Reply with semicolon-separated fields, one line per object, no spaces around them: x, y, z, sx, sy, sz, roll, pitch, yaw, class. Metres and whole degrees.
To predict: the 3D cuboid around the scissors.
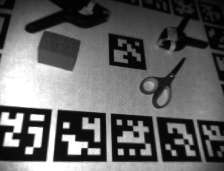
0.146;-0.025;0.568;0.088;0.016;0.204;45;59;-4;scissors

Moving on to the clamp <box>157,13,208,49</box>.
0.203;-0.153;0.642;0.166;0.036;0.121;-23;83;-26;clamp

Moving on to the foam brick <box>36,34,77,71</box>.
-0.121;-0.072;0.483;0.078;0.051;0.052;11;65;-9;foam brick

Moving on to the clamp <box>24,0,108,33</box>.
-0.110;-0.192;0.548;0.204;0.036;0.164;2;63;-19;clamp
